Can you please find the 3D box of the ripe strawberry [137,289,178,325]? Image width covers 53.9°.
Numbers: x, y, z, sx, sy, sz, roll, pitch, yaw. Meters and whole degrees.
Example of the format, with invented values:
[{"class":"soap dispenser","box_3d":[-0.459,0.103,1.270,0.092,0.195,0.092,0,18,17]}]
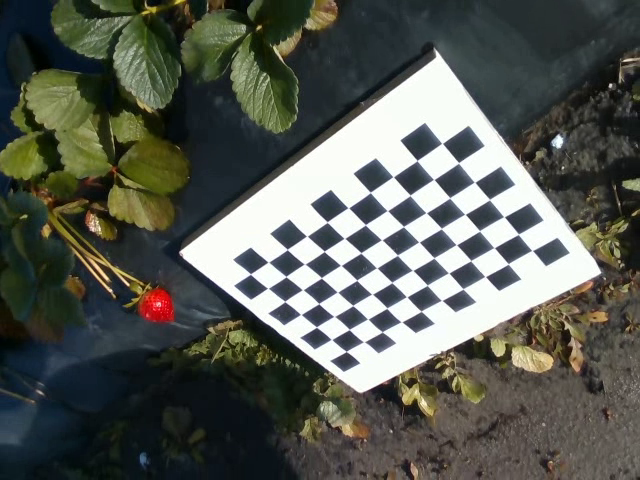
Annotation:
[{"class":"ripe strawberry","box_3d":[-0.154,0.066,0.602,0.044,0.040,0.037,32,35,-7]}]
